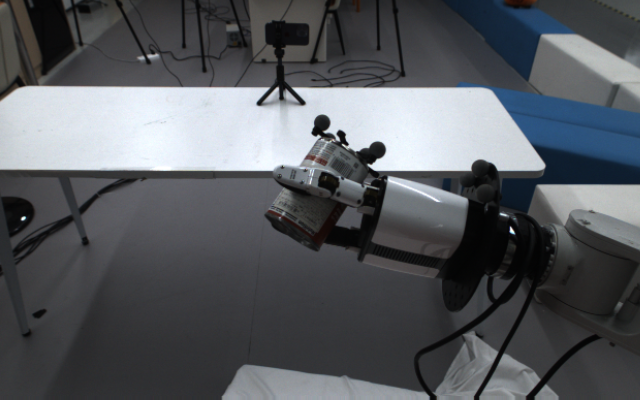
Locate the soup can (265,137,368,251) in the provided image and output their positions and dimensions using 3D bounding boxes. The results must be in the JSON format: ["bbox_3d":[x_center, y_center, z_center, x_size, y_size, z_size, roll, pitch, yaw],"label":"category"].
[{"bbox_3d":[-0.002,-0.009,0.510,0.067,0.067,0.101,26,75,30],"label":"soup can"}]
